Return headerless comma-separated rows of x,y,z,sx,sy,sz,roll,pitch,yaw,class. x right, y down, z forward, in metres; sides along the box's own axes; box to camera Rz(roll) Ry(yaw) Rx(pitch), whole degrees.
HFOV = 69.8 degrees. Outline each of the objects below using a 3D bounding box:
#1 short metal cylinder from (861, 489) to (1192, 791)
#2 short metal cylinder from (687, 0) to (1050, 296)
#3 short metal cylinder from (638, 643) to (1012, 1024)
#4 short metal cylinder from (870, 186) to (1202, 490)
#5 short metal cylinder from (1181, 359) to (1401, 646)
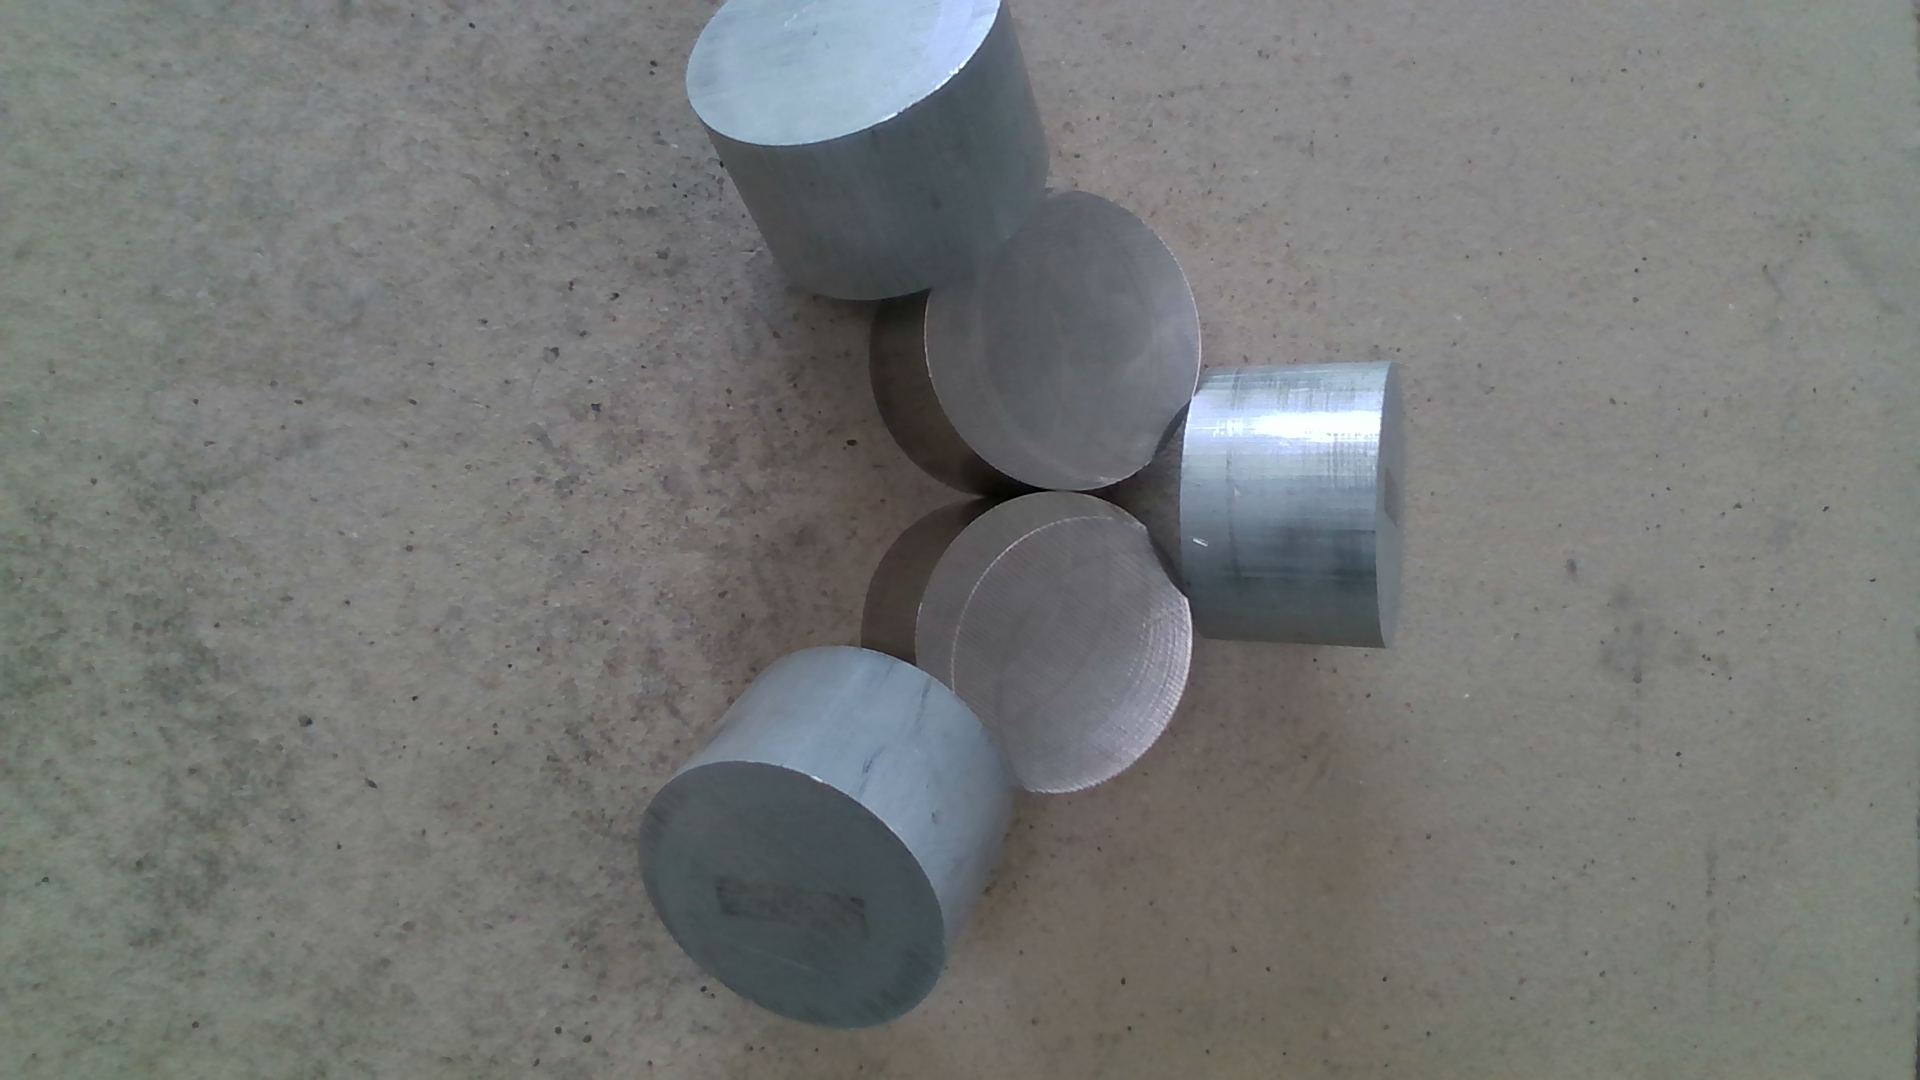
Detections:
0.018,0.027,0.387,0.080,0.050,0.080,0,90,-21,short metal cylinder
-0.022,-0.109,0.350,0.080,0.080,0.050,-46,144,-14,short metal cylinder
-0.033,0.073,0.347,0.080,0.080,0.050,54,32,-12,short metal cylinder
0.020,-0.053,0.388,0.080,0.050,0.080,0,90,-21,short metal cylinder
0.097,-0.011,0.394,0.050,0.080,0.080,1,89,22,short metal cylinder
